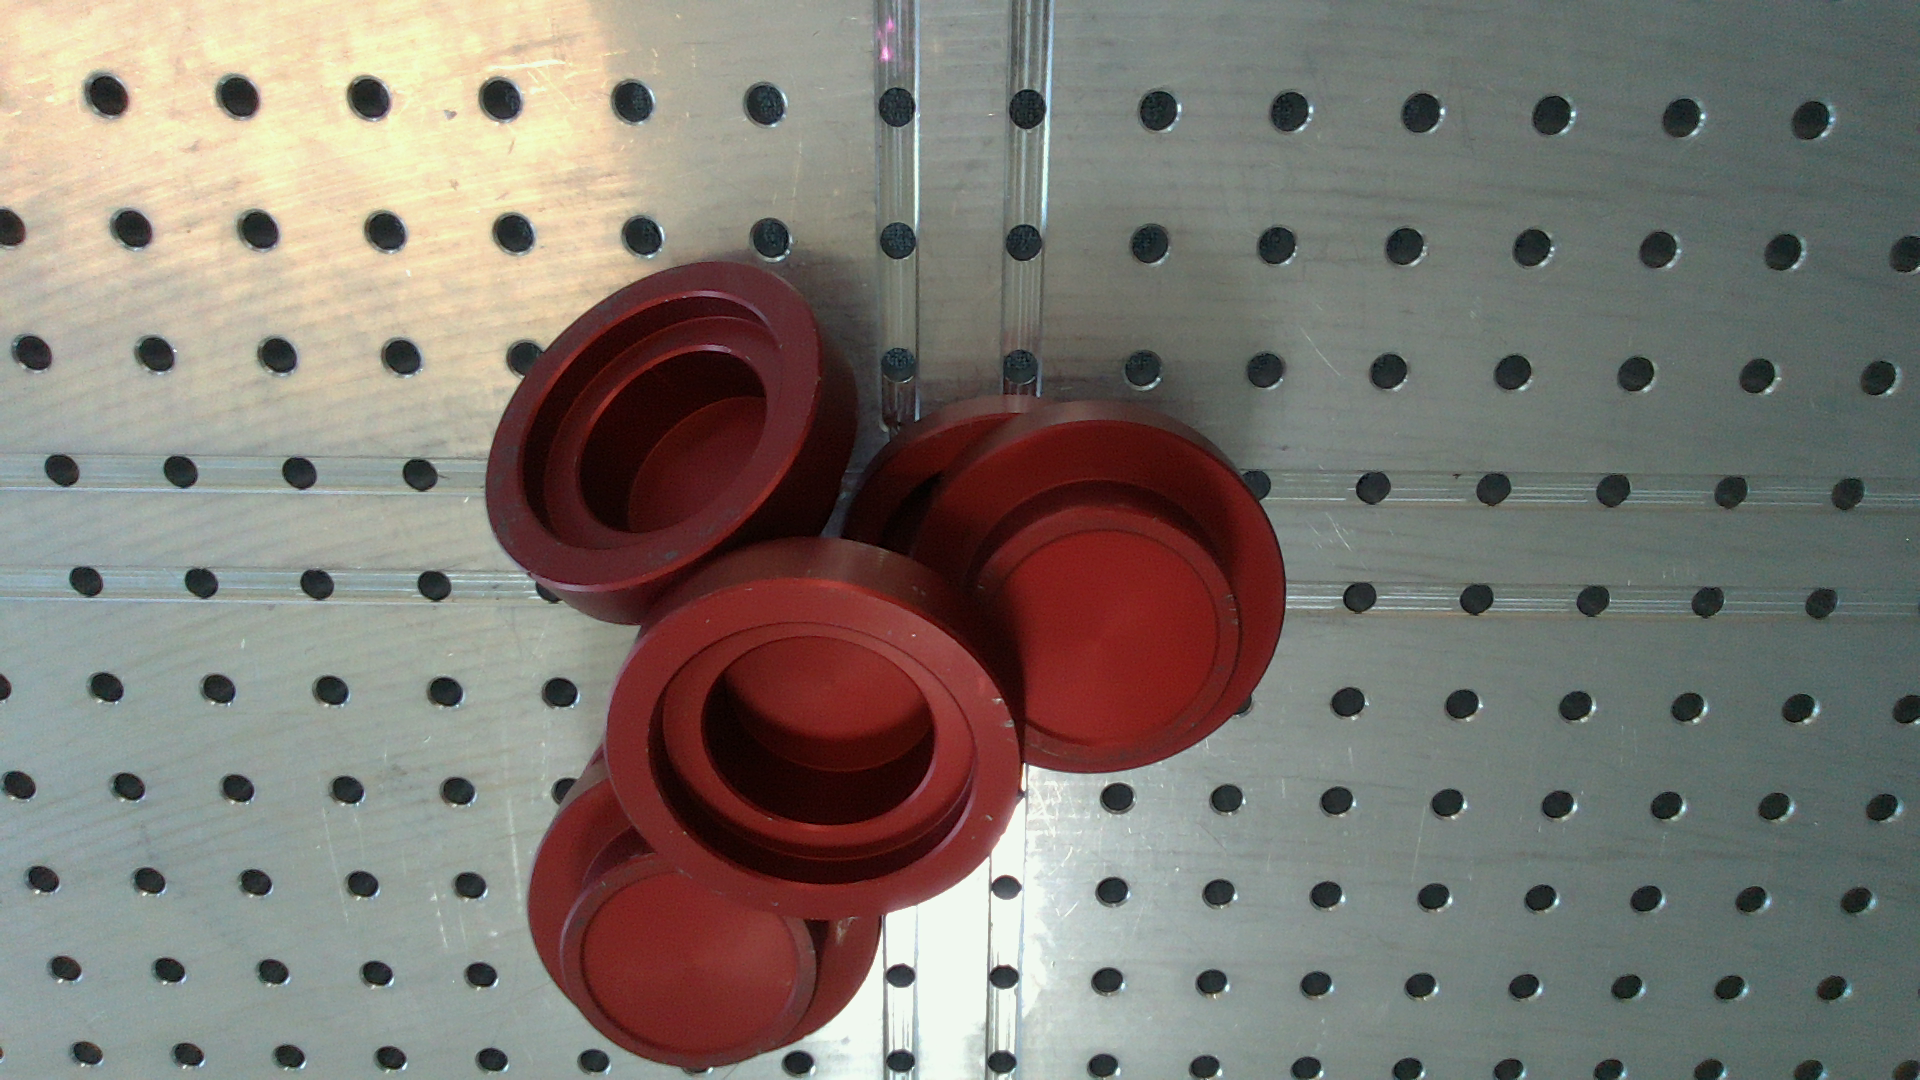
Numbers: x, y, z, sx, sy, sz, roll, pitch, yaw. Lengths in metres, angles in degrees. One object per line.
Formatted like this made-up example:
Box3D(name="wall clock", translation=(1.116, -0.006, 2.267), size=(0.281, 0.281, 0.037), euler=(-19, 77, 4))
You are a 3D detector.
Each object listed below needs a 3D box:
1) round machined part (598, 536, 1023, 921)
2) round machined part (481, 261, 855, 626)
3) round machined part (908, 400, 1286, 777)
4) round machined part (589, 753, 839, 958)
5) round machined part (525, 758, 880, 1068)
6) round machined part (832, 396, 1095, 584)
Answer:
Box3D(name="round machined part", translation=(-0.034, 0.042, 0.334), size=(0.098, 0.042, 0.098), euler=(1, 118, 3))
Box3D(name="round machined part", translation=(-0.071, -0.021, 0.359), size=(0.098, 0.098, 0.042), euler=(-26, 143, 9))
Box3D(name="round machined part", translation=(0.034, 0.017, 0.348), size=(0.098, 0.042, 0.098), euler=(0, 110, 0))
Box3D(name="round machined part", translation=(-0.064, 0.088, 0.397), size=(0.098, 0.042, 0.098), euler=(0, 110, 0))
Box3D(name="round machined part", translation=(-0.071, 0.104, 0.380), size=(0.098, 0.042, 0.098), euler=(0, 110, 0))
Box3D(name="round machined part", translation=(0.012, 0.014, 0.370), size=(0.098, 0.042, 0.098), euler=(0, 110, 0))
